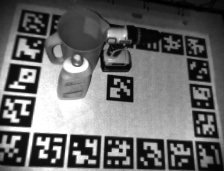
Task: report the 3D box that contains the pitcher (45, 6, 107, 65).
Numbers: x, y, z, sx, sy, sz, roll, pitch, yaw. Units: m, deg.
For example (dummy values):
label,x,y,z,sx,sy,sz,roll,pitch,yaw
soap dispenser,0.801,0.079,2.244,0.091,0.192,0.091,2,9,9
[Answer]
label,x,y,z,sx,sy,sz,roll,pitch,yaw
pitcher,-0.109,-0.141,0.680,0.190,0.242,0.133,-21,79,-16

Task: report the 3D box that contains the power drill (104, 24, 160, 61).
label,x,y,z,sx,sy,sz,roll,pitch,yaw
power drill,0.056,-0.139,0.726,0.186,0.186,0.057,2,75,-17

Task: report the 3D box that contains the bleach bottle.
label,x,y,z,sx,sy,sz,roll,pitch,yaw
bleach bottle,-0.121,-0.052,0.628,0.103,0.250,0.067,-2,73,-11
